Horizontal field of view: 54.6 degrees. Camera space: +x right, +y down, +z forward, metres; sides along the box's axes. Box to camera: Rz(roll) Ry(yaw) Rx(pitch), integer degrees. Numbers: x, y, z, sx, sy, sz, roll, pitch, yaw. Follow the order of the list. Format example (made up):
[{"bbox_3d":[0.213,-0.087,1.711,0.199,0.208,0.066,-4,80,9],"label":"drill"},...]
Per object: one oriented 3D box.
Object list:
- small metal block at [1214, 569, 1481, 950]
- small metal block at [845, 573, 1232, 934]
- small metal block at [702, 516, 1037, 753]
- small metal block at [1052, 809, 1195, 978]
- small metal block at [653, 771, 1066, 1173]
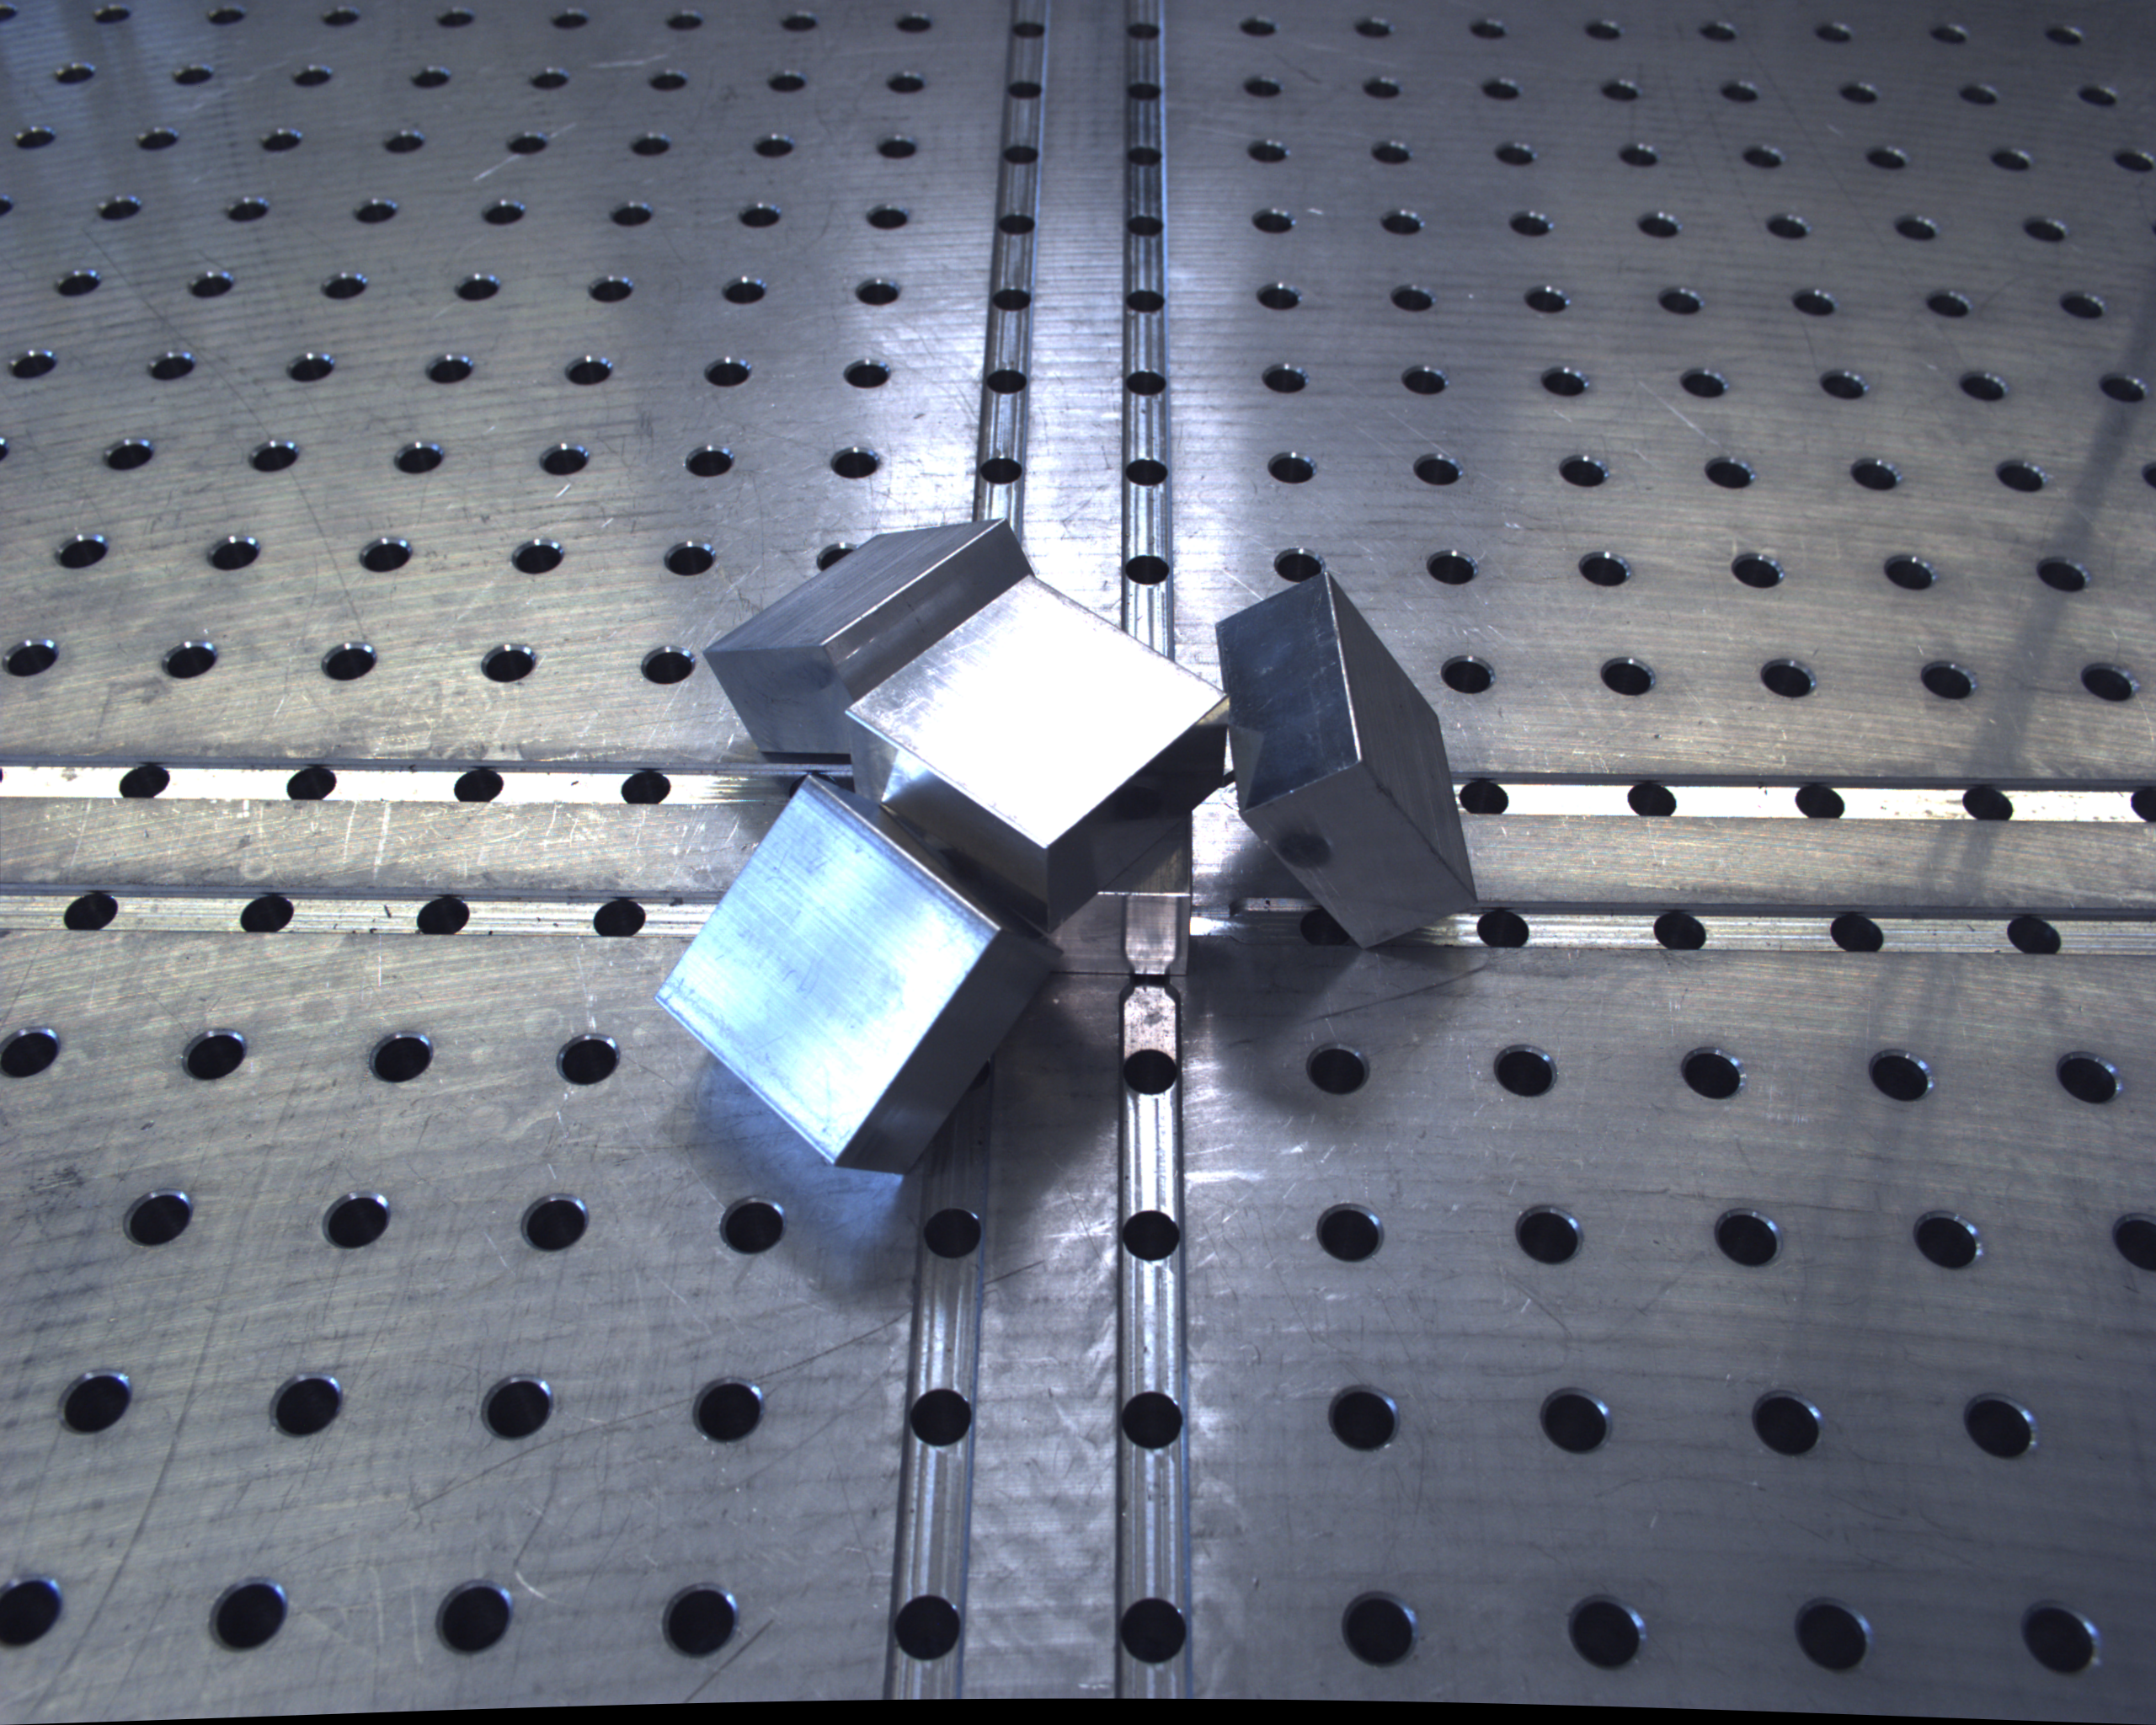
[{"bbox_3d":[0.052,-0.019,0.405,0.025,0.050,0.050,-24,46,23],"label":"small metal block"},{"bbox_3d":[-0.007,-0.021,0.393,0.050,0.025,0.050,34,57,25],"label":"small metal block"},{"bbox_3d":[-0.041,-0.046,0.431,0.050,0.025,0.050,-39,24,-28],"label":"small metal block"},{"bbox_3d":[-0.003,-0.005,0.412,0.050,0.025,0.050,1,53,1],"label":"small metal block"},{"bbox_3d":[-0.039,0.020,0.374,0.050,0.025,0.050,37,96,27],"label":"small metal block"}]
